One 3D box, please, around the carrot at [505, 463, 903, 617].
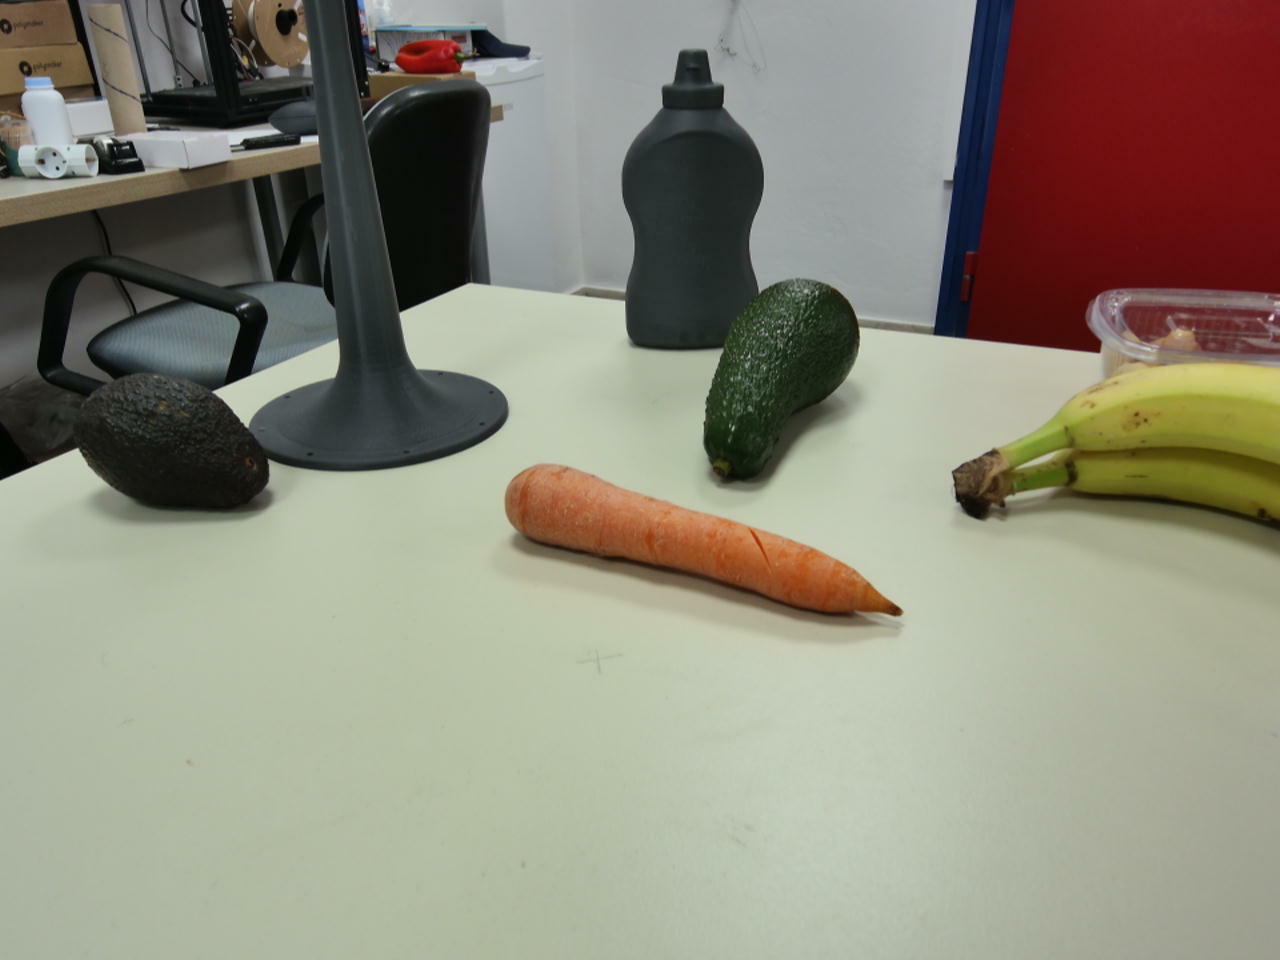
[{"bbox_3d":[0.024,0.026,0.462,0.196,0.041,0.039,11,26,23],"label":"carrot"}]
